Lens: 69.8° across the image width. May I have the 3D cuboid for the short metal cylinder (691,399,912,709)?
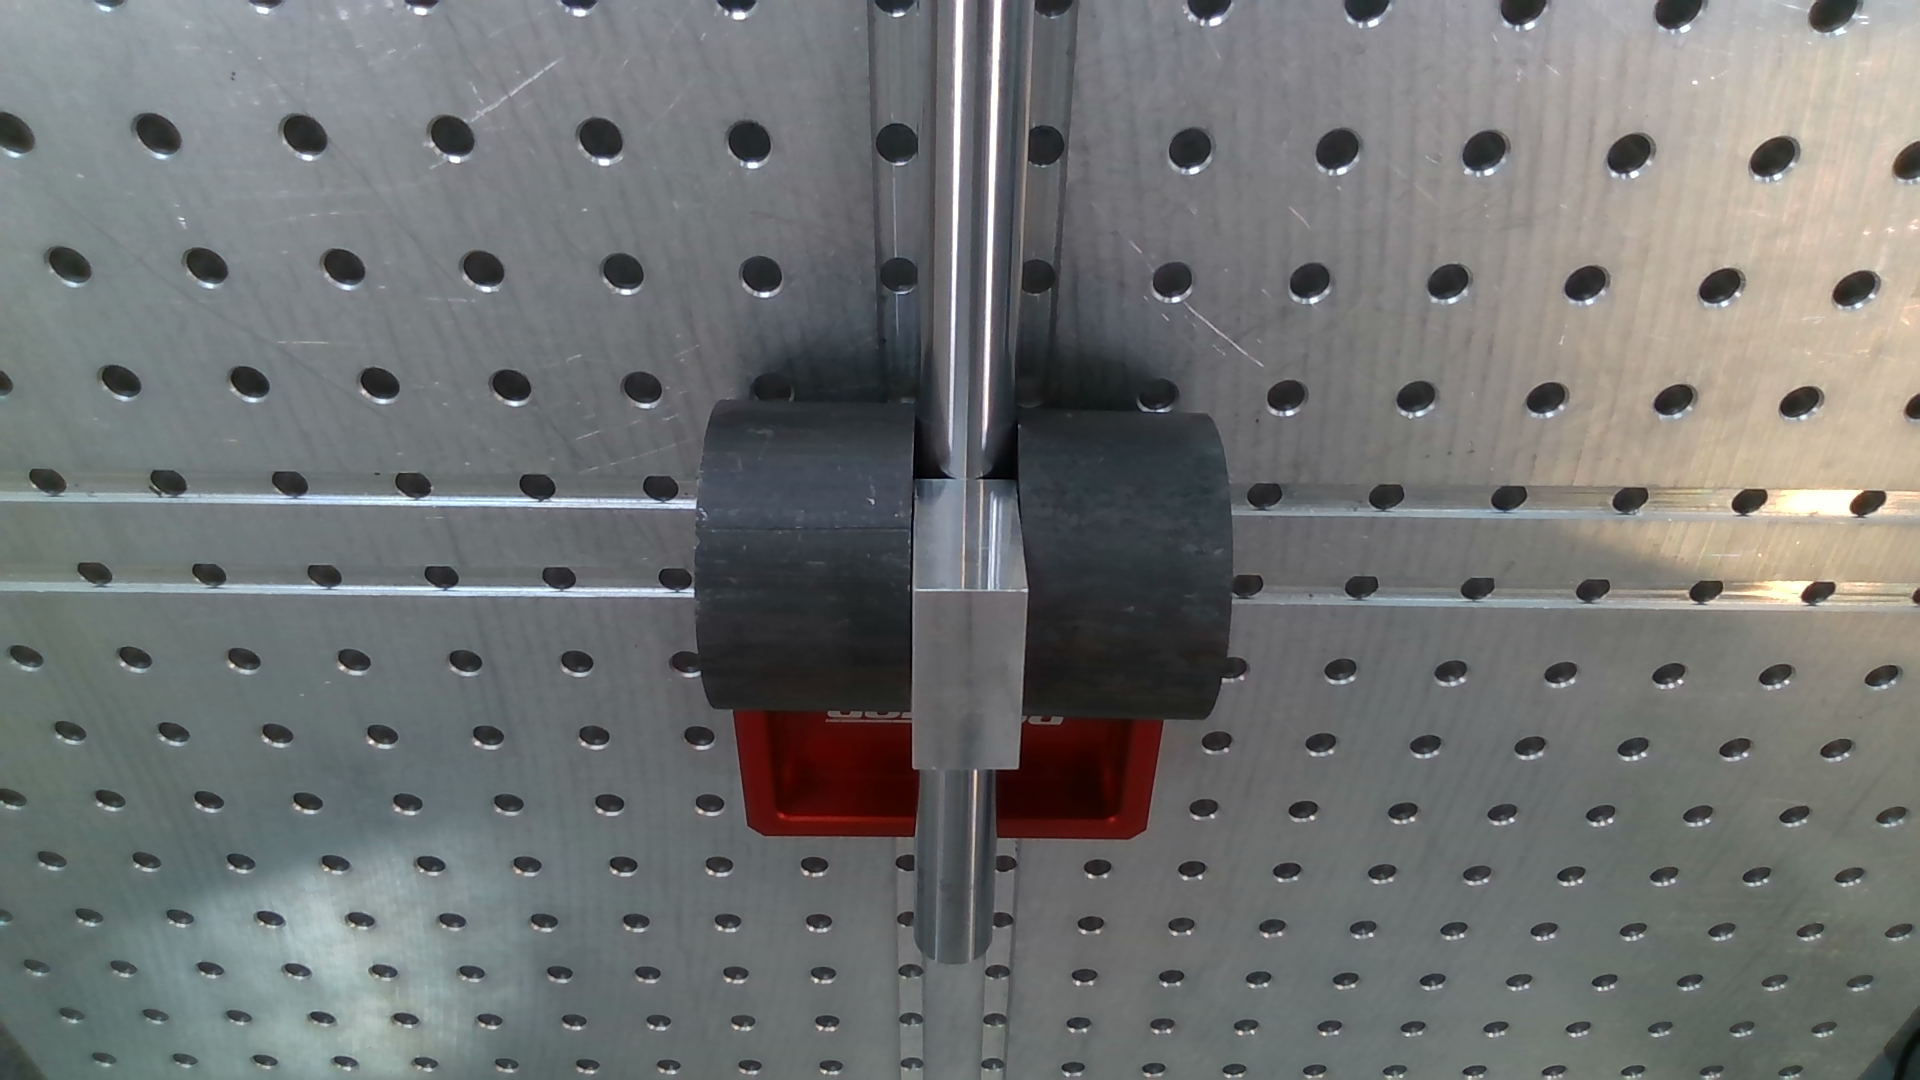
[{"bbox_3d":[-0.038,0.004,0.359,0.050,0.080,0.080,1,130,-1],"label":"short metal cylinder"}]

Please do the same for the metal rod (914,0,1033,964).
[{"bbox_3d":[0.001,-0.004,0.358,0.025,0.025,0.301,1,121,-1],"label":"metal rod"}]

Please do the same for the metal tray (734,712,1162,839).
[{"bbox_3d":[-0.003,0.054,0.434,0.130,0.030,0.090,1,130,-1],"label":"metal tray"}]

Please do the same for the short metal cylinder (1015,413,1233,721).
[{"bbox_3d":[0.038,0.007,0.360,0.050,0.080,0.080,1,130,0],"label":"short metal cylinder"}]

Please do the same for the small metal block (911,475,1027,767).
[{"bbox_3d":[0.002,0.019,0.329,0.025,0.050,0.050,1,122,0],"label":"small metal block"}]
